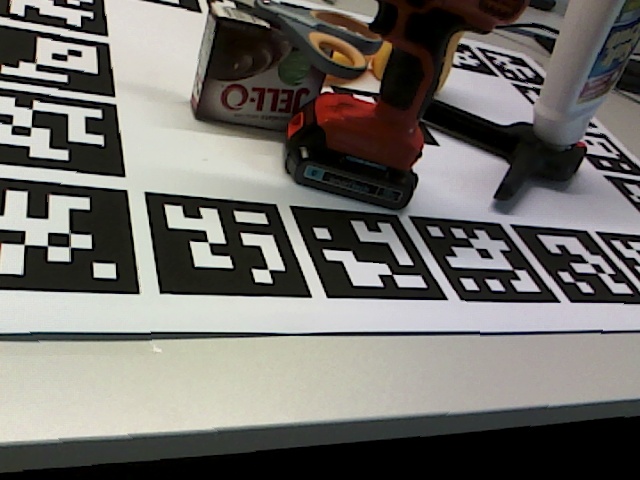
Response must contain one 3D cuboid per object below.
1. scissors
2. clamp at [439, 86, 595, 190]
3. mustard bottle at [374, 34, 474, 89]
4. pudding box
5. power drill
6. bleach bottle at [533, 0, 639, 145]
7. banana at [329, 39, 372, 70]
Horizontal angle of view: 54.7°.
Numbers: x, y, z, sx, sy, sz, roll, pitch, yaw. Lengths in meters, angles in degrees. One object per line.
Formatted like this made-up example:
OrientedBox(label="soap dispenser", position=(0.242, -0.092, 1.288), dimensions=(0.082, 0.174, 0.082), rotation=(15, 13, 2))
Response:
OrientedBox(label="scissors", position=(-0.042, -0.204, 0.526), dimensions=(0.202, 0.016, 0.088), rotation=(24, 40, -8))
OrientedBox(label="clamp", position=(0.233, -0.110, 0.687), dimensions=(0.201, 0.036, 0.166), rotation=(0, 44, -31))
OrientedBox(label="mustard bottle", position=(0.142, -0.262, 0.731), dimensions=(0.096, 0.191, 0.058), rotation=(14, 37, -14))
OrientedBox(label="pudding box", position=(-0.053, -0.151, 0.562), dimensions=(0.113, 0.090, 0.039), rotation=(7, 33, -22))
OrientedBox(label="power drill", position=(0.048, -0.148, 0.483), dimensions=(0.184, 0.187, 0.057), rotation=(11, 31, -12))
OrientedBox(label="bleach bottle", position=(0.294, -0.196, 0.650), dimensions=(0.102, 0.250, 0.068), rotation=(-17, 48, -33))
OrientedBox(label="banana", position=(0.020, -0.230, 0.735), dimensions=(0.074, 0.039, 0.196), rotation=(21, 33, 25))
